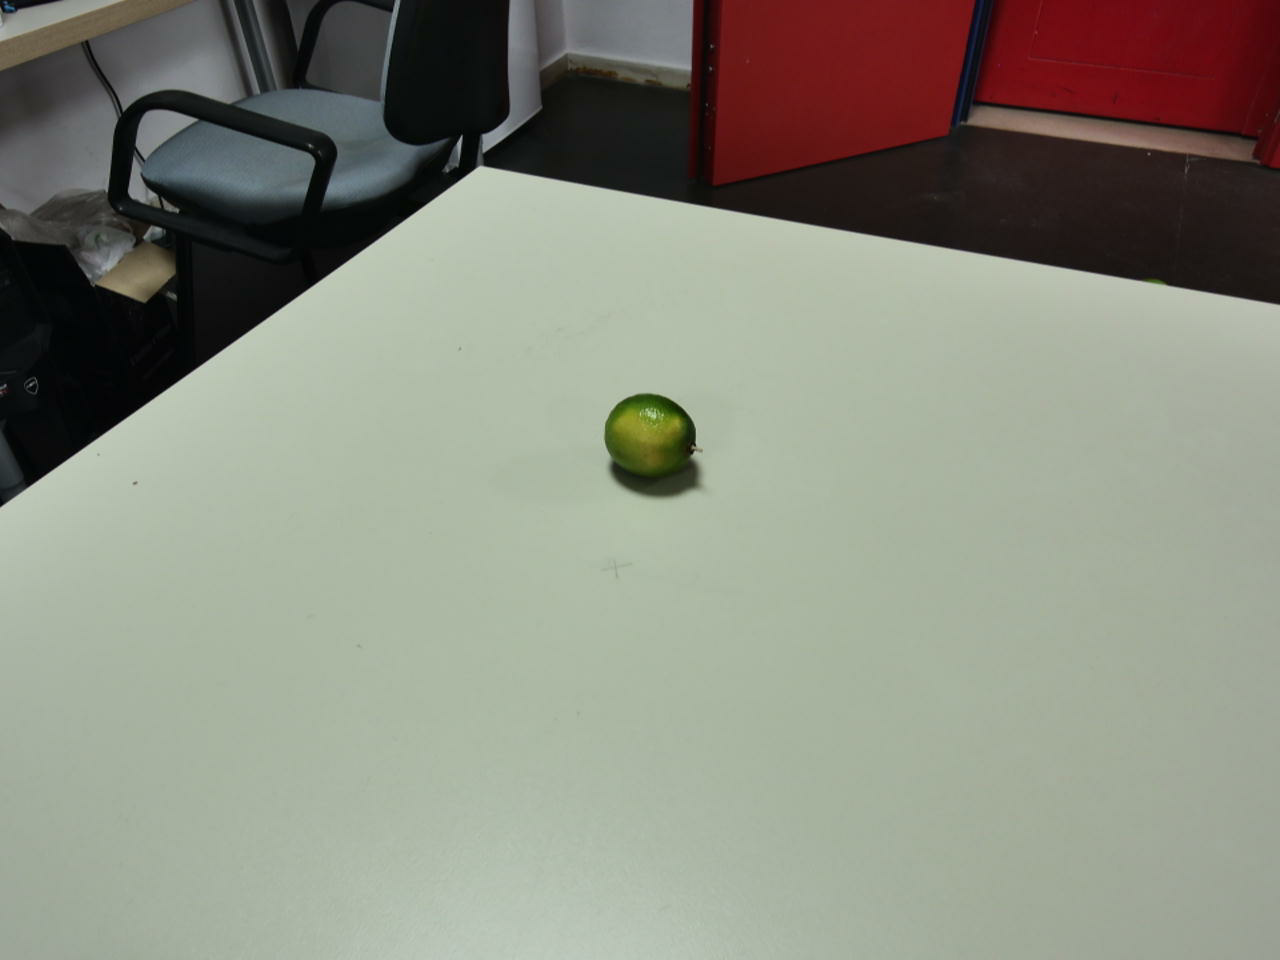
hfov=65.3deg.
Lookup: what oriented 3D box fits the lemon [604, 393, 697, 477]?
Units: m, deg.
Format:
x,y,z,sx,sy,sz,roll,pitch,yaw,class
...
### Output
x,y,z,sx,sy,sz,roll,pitch,yaw,class
0.006,-0.028,0.617,0.054,0.050,0.055,-9,39,-12,lemon
